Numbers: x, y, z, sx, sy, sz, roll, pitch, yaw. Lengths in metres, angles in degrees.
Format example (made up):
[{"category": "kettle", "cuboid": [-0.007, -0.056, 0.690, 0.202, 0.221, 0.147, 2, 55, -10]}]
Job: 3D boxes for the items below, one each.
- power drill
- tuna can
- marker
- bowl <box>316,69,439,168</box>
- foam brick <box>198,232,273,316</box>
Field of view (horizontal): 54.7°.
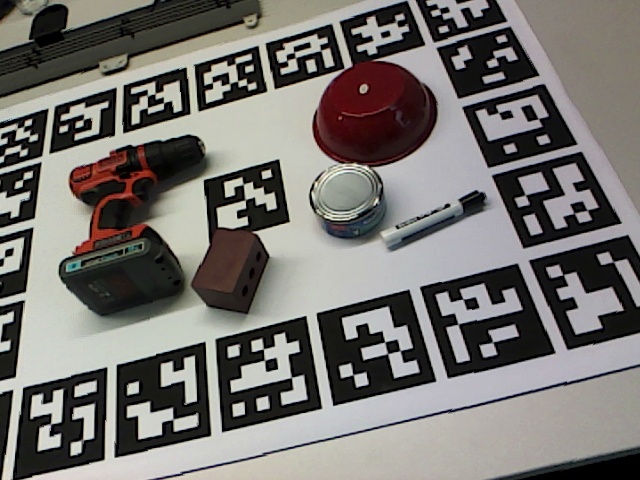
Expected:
[{"category": "power drill", "cuboid": [-0.223, -0.028, 0.761, 0.184, 0.057, 0.188, -14, 53, 2]}, {"category": "tuna can", "cuboid": [0.037, -0.047, 0.711, 0.086, 0.033, 0.086, -6, 56, 9]}, {"category": "marker", "cuboid": [0.129, -0.023, 0.678, 0.121, 0.019, 0.020, -22, 57, 0]}, {"category": "bowl", "cuboid": [0.065, -0.165, 0.779, 0.162, 0.055, 0.162, -11, 49, 13]}, {"category": "foam brick", "cuboid": [-0.093, 0.038, 0.689, 0.051, 0.052, 0.078, 7, 61, 17]}]
